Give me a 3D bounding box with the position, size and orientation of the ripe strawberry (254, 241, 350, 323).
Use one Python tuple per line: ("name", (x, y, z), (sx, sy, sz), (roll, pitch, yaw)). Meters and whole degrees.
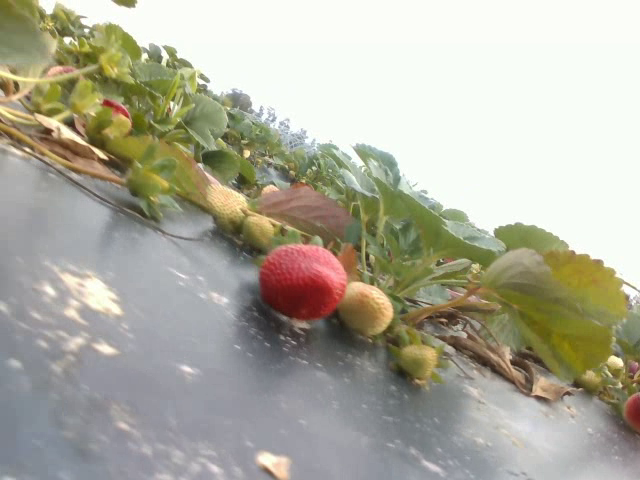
("ripe strawberry", (-0.004, 0.017, 0.272), (0.050, 0.034, 0.059), (28, -7, -21))
